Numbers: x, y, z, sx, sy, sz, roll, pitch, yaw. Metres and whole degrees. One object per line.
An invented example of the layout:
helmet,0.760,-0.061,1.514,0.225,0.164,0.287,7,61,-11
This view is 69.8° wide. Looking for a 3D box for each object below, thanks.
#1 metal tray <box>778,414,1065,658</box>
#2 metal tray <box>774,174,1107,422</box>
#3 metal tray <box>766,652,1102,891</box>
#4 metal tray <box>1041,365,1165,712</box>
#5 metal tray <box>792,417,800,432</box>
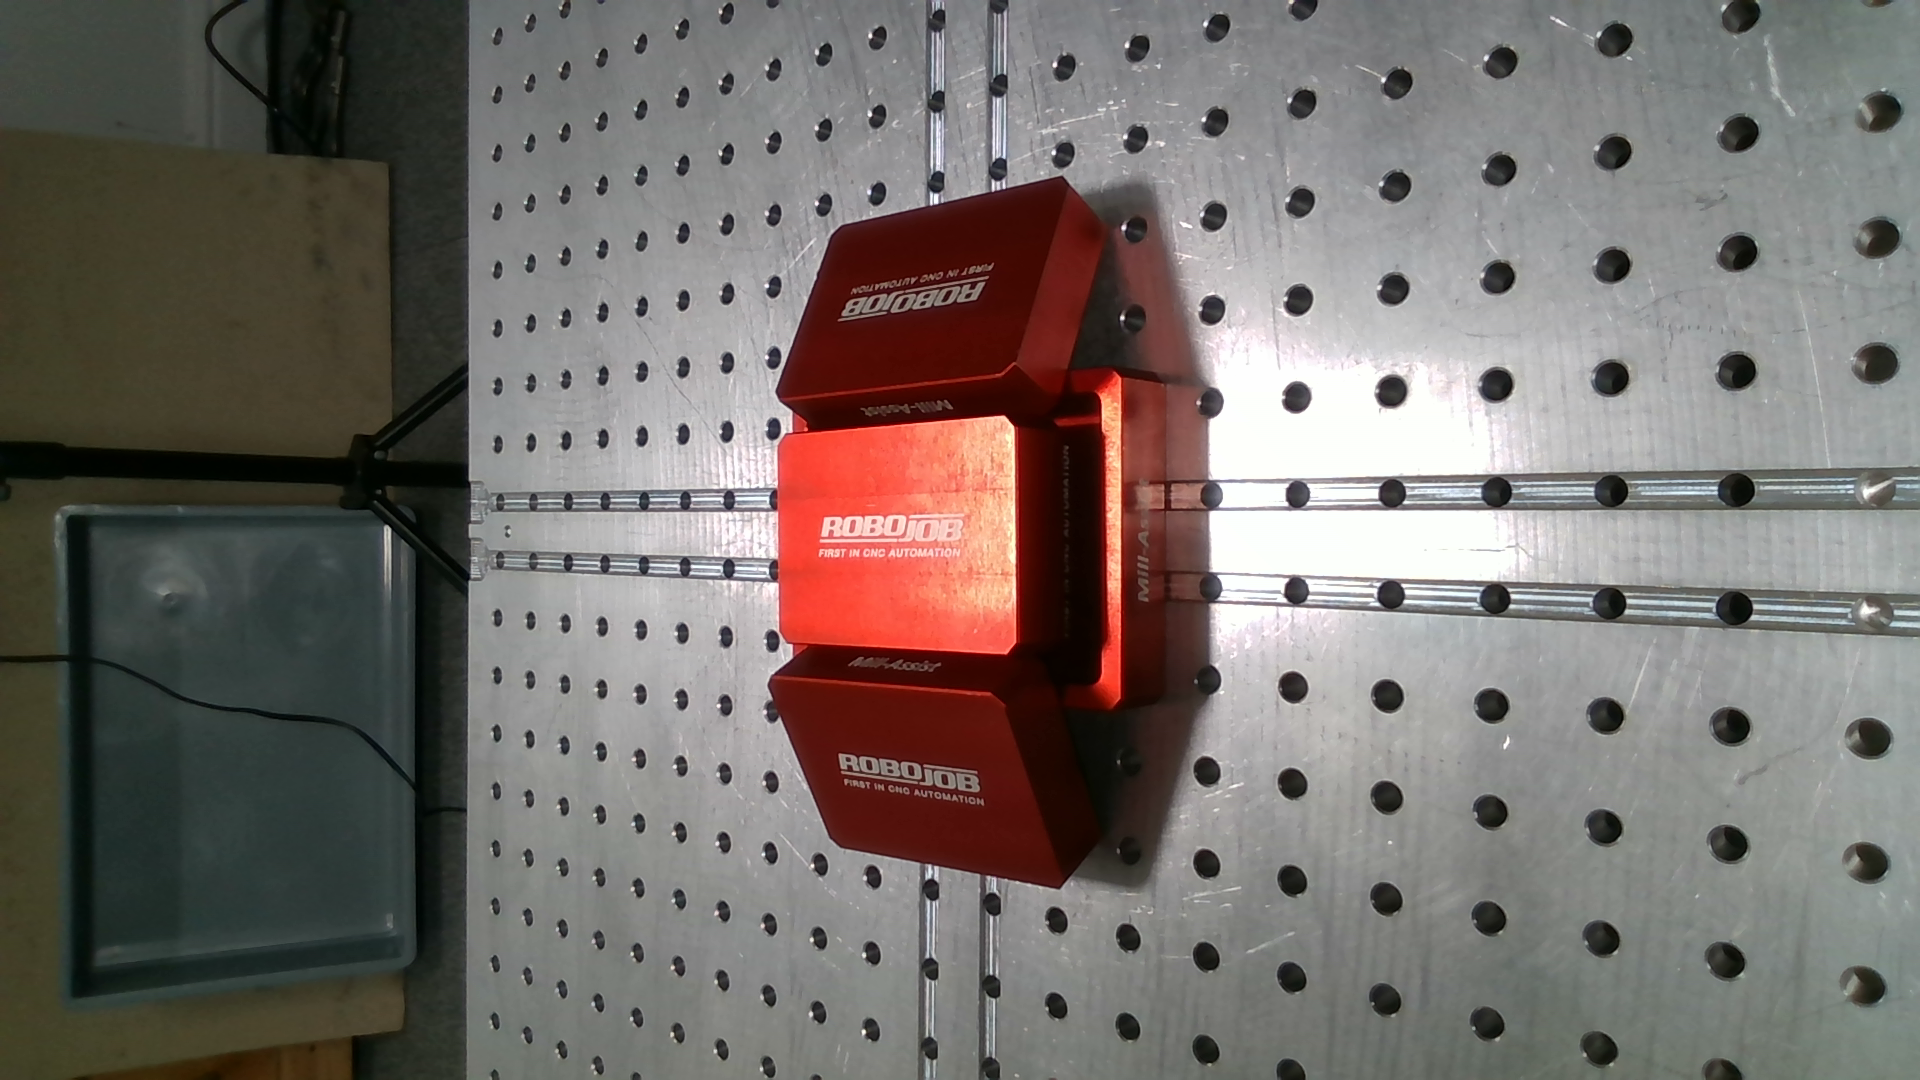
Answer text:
metal tray,-0.019,-0.001,0.558,0.130,0.030,0.090,-1,90,40
metal tray,-0.010,-0.094,0.566,0.130,0.030,0.090,-1,64,41
metal tray,-0.013,0.091,0.569,0.130,0.030,0.090,-1,117,40
metal tray,0.036,-0.001,0.551,0.090,0.030,0.130,1,91,41
metal tray,-0.033,0.000,0.610,0.090,0.030,0.130,1,91,41
